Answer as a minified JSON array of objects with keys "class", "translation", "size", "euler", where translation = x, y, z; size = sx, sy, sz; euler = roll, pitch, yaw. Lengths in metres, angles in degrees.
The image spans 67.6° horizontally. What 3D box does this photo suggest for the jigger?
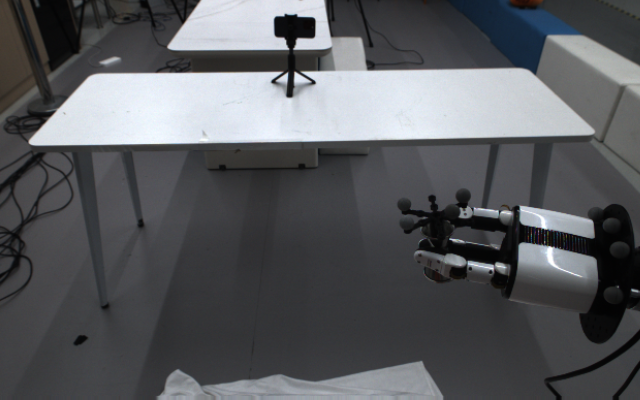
[{"class":"jigger","translation":[0.147,0.061,0.596],"size":[0.043,0.071,0.043],"euler":[-10,32,6]}]
